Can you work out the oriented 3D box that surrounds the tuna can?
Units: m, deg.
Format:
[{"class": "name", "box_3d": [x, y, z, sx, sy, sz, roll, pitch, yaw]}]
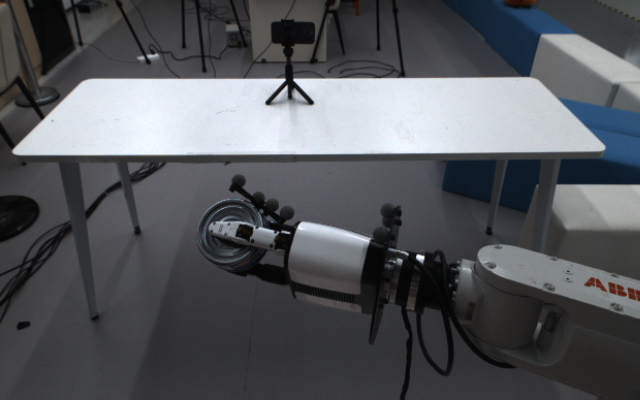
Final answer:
[{"class": "tuna can", "box_3d": [-0.103, 0.042, 0.589, 0.085, 0.034, 0.085, -4, 69, 10]}]
